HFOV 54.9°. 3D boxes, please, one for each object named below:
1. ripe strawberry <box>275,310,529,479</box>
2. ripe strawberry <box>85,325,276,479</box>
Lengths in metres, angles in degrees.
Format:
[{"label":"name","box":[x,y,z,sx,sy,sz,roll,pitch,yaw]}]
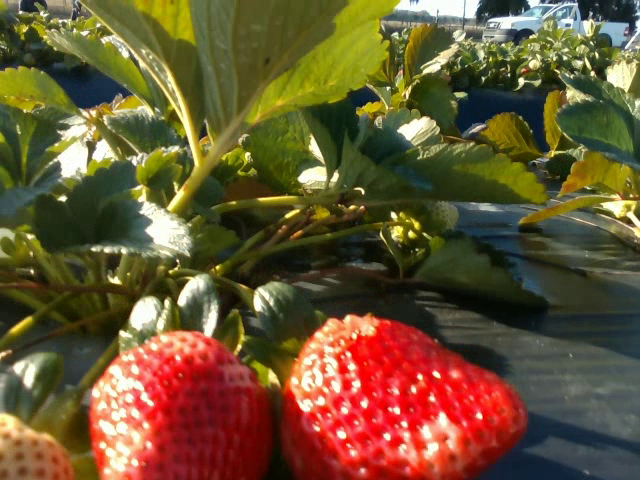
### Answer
[{"label":"ripe strawberry","box":[0.021,0.038,0.133,0.067,0.051,0.056,-12,28,48]},{"label":"ripe strawberry","box":[-0.033,0.040,0.123,0.051,0.043,0.061,24,7,0]}]
